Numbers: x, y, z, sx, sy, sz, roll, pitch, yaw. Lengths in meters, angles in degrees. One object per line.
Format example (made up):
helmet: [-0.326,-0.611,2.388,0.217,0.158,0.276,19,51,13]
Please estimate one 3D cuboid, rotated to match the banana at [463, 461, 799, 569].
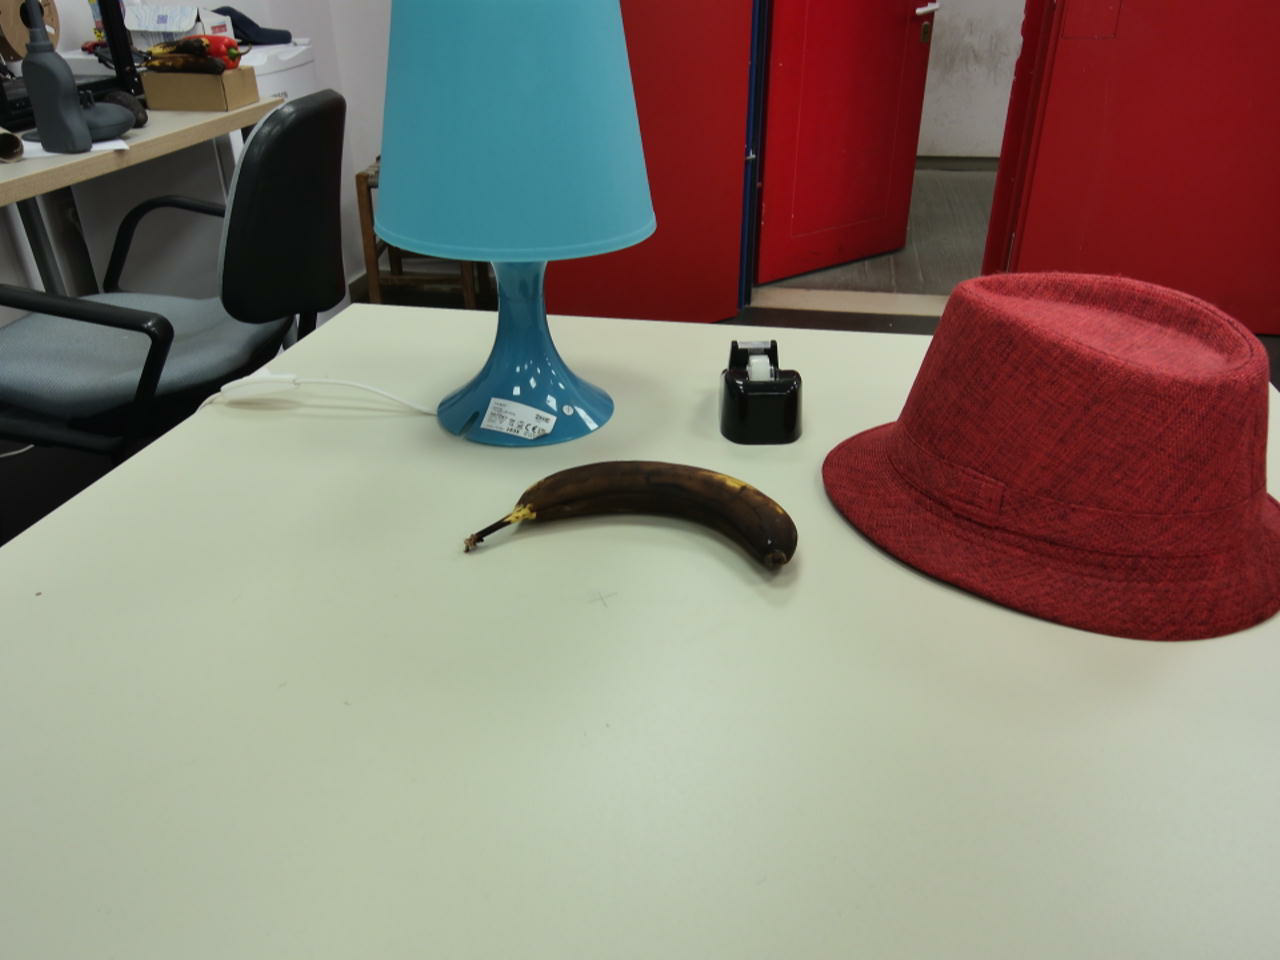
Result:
banana: [0.000,0.016,0.583,0.188,0.034,0.091,6,27,12]
